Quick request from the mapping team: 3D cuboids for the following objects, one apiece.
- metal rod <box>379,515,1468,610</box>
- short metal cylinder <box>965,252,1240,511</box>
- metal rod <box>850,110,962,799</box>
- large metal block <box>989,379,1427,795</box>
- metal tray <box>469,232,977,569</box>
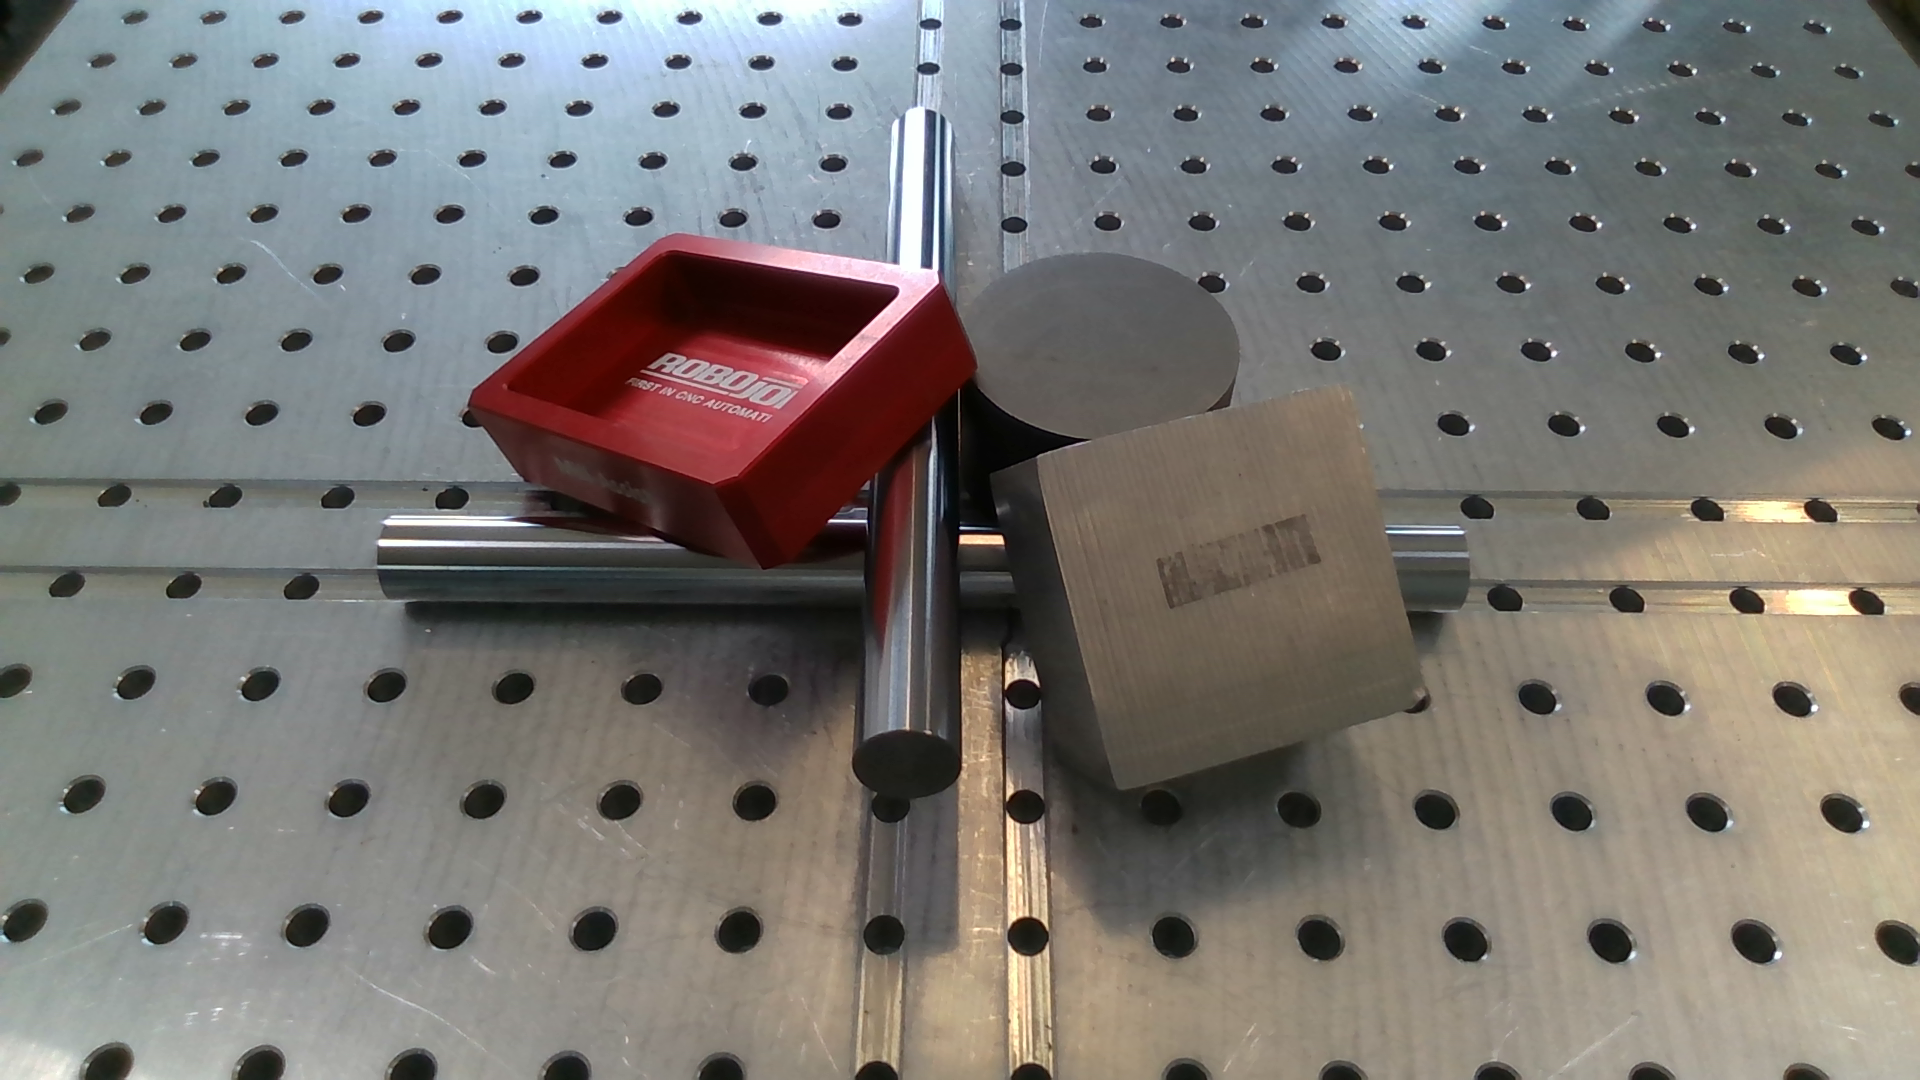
[{"bbox_3d":[-0.011,0.006,0.392,0.300,0.025,0.025,0,50,1],"label":"metal rod"},{"bbox_3d":[0.040,-0.042,0.415,0.080,0.050,0.080,0,50,0],"label":"short metal cylinder"},{"bbox_3d":[-0.013,-0.051,0.418,0.025,0.025,0.299,0,43,0],"label":"metal rod"},{"bbox_3d":[0.059,0.011,0.346,0.080,0.050,0.080,-14,91,-11],"label":"large metal block"},{"bbox_3d":[-0.071,-0.046,0.399,0.130,0.030,0.090,18,55,41],"label":"metal tray"}]
